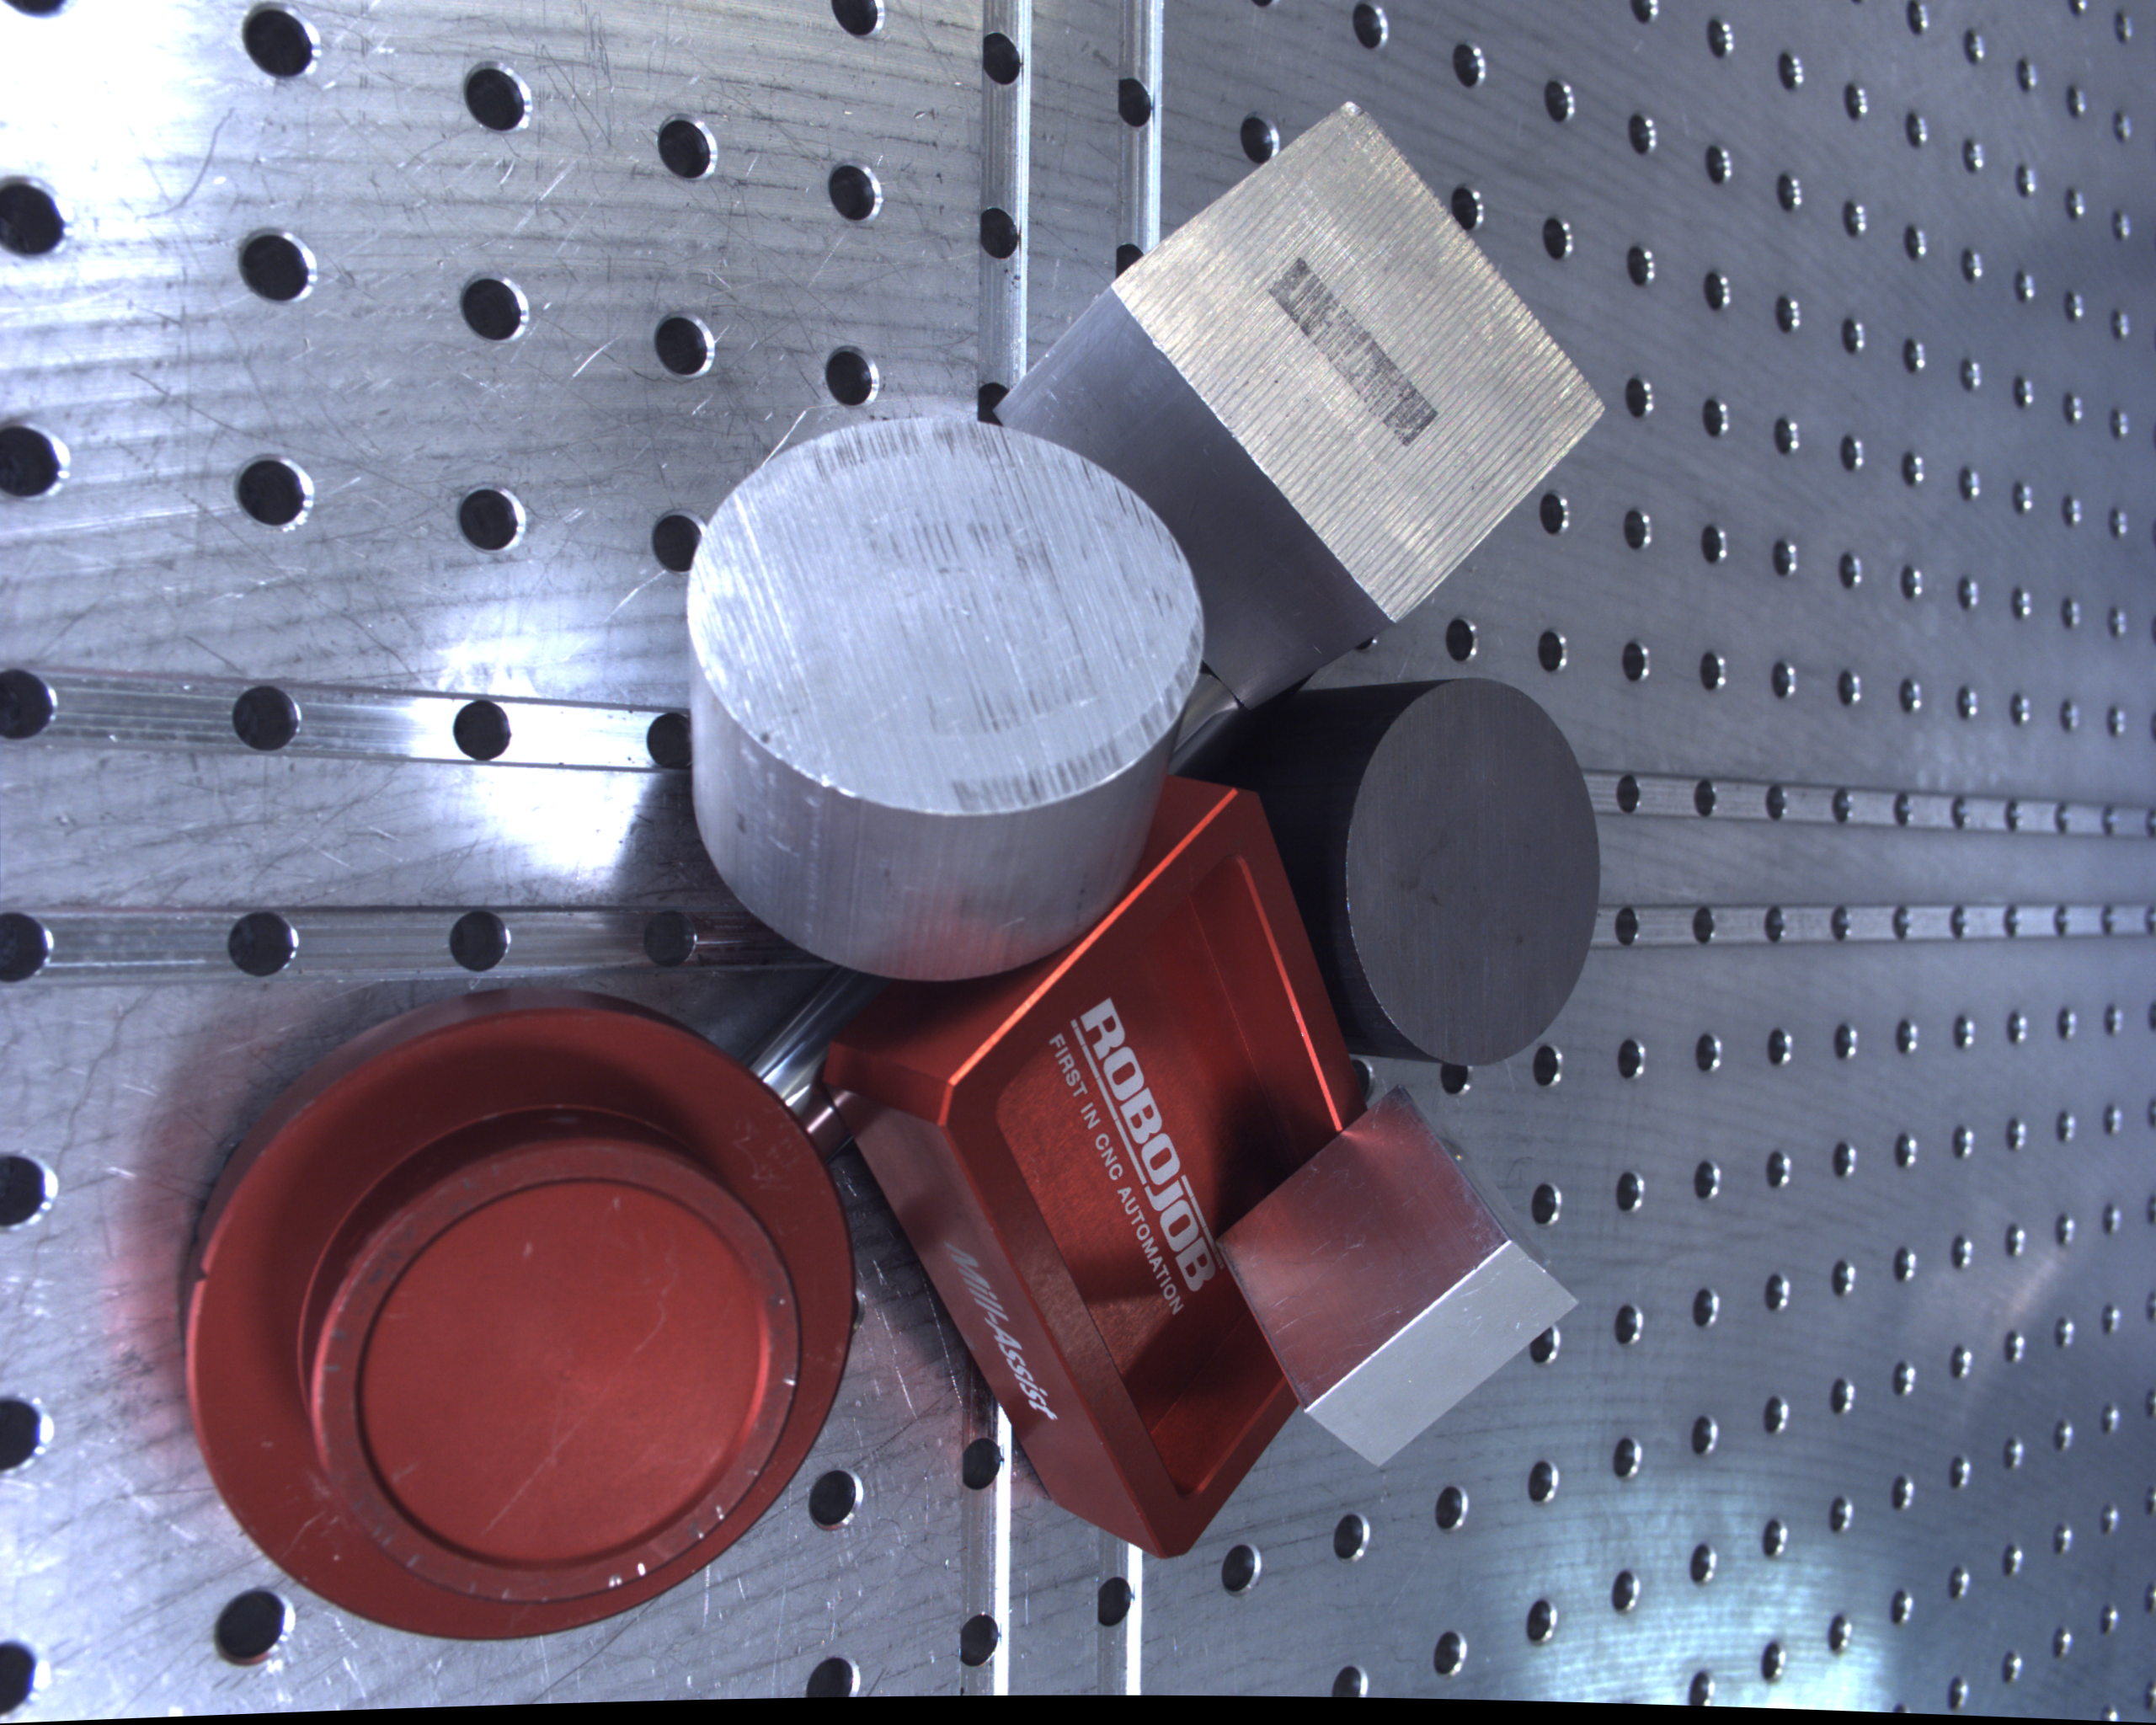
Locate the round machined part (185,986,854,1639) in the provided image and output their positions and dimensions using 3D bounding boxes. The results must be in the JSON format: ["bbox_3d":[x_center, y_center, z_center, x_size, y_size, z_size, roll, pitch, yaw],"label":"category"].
[{"bbox_3d":[-0.081,0.070,0.314,0.099,0.042,0.097,-3,97,-24],"label":"round machined part"}]

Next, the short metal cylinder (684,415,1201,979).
[{"bbox_3d":[-0.024,-0.028,0.346,0.081,0.050,0.080,5,57,-7],"label":"short metal cylinder"}]

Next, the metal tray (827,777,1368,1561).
[{"bbox_3d":[0.015,0.058,0.400,0.090,0.030,0.129,-45,130,-30],"label":"metal tray"}]

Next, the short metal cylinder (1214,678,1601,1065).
[{"bbox_3d":[0.067,0.002,0.448,0.081,0.050,0.079,0,90,-40],"label":"short metal cylinder"}]

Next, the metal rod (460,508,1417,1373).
[{"bbox_3d":[0.000,-0.009,0.412,0.301,0.025,0.025,-45,117,-30],"label":"metal rod"}]

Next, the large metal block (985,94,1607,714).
[{"bbox_3d":[0.044,-0.090,0.414,0.080,0.050,0.080,49,59,-6],"label":"large metal block"}]

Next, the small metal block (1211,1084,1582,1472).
[{"bbox_3d":[0.061,0.080,0.406,0.050,0.050,0.025,-42,124,8],"label":"small metal block"}]
